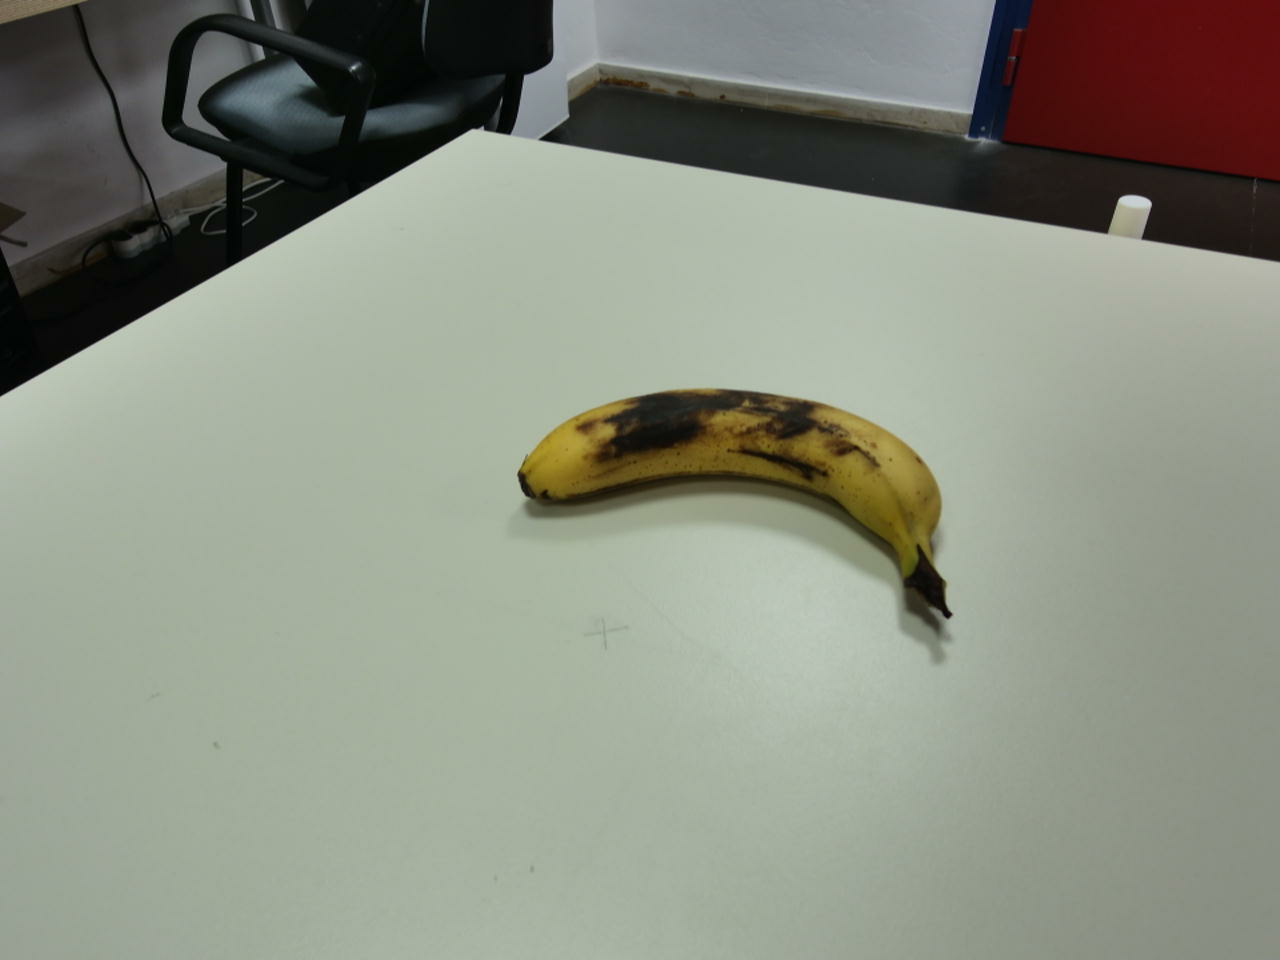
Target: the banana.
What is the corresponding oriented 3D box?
[{"bbox_3d":[0.048,-0.004,0.431,0.187,0.039,0.094,16,40,20],"label":"banana"}]
